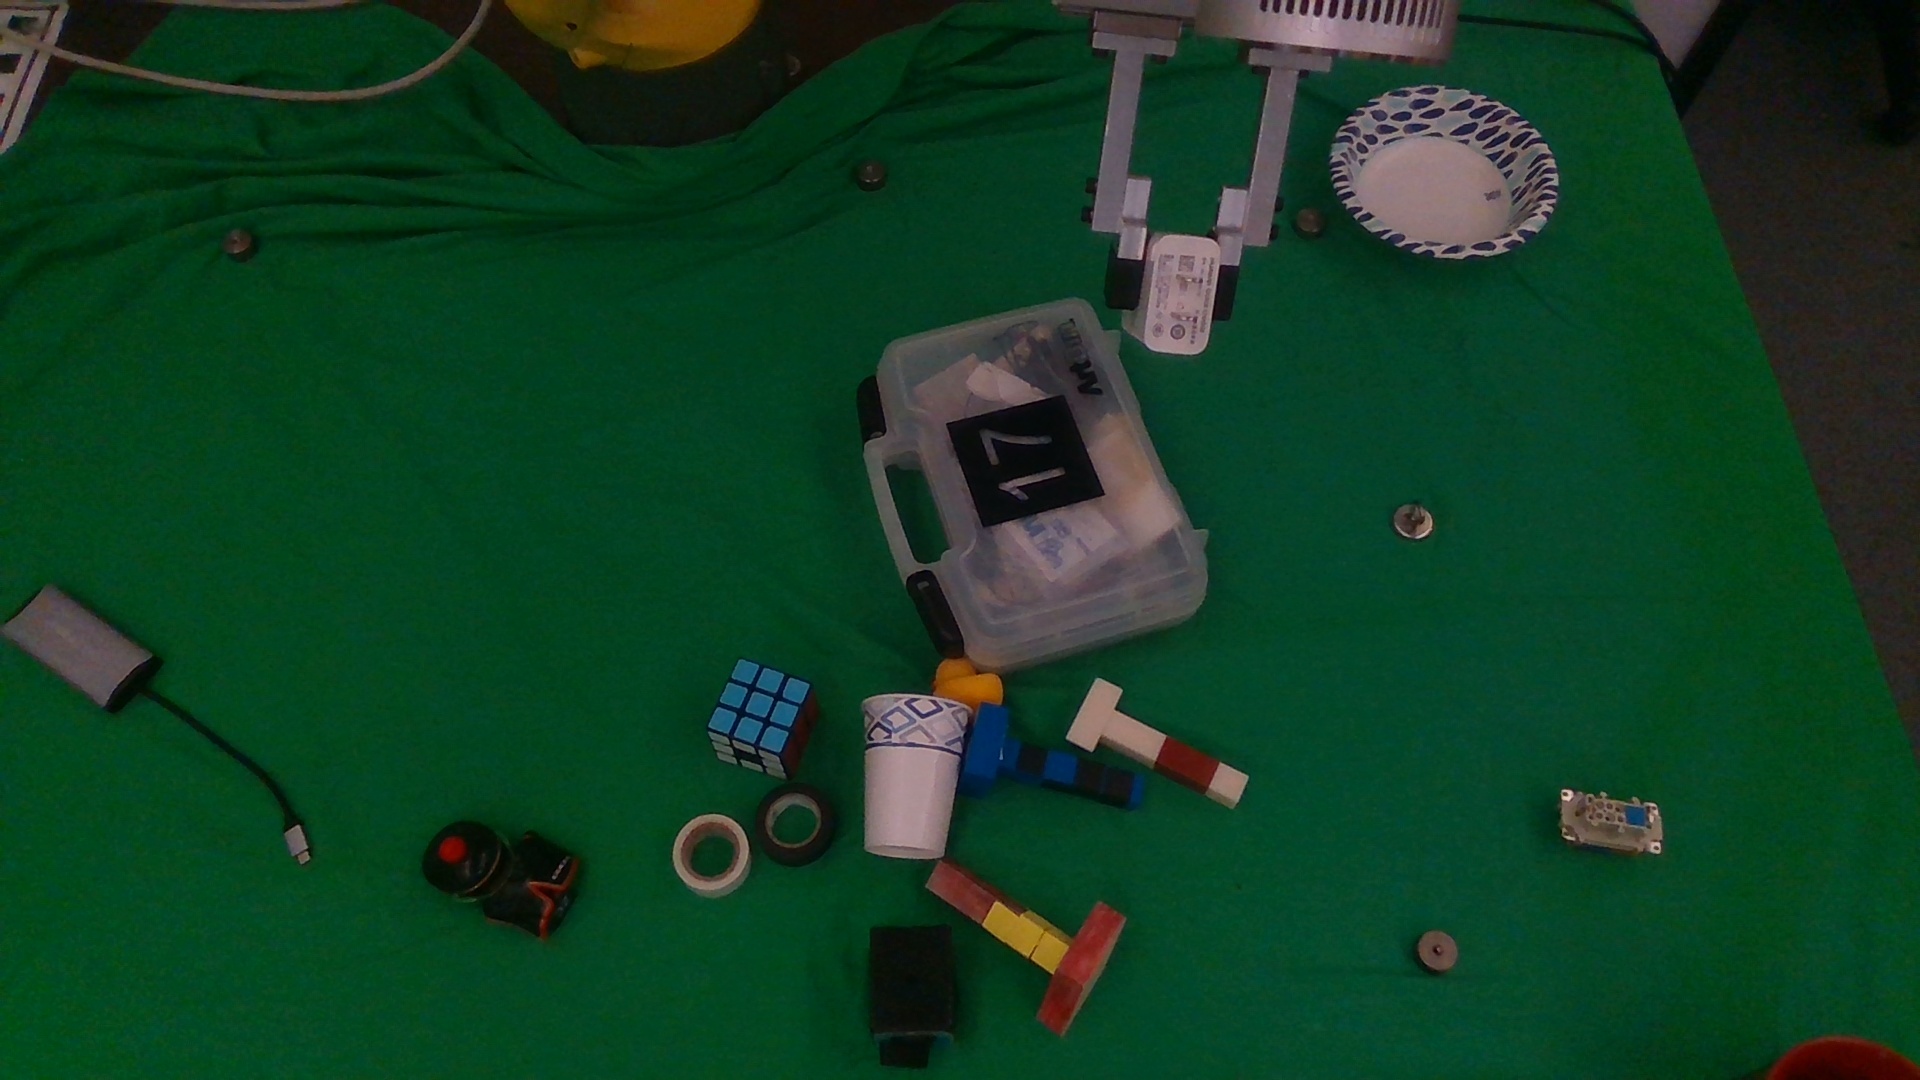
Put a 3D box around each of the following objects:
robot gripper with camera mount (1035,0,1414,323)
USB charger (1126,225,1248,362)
[{"bbox_3d":[0.079,-0.124,0.389,0.119,0.158,0.193,3,21,1],"label":"robot gripper with camera mount"},{"bbox_3d":[0.077,-0.083,0.467,0.029,0.075,0.044,-5,101,-5],"label":"USB charger"}]
